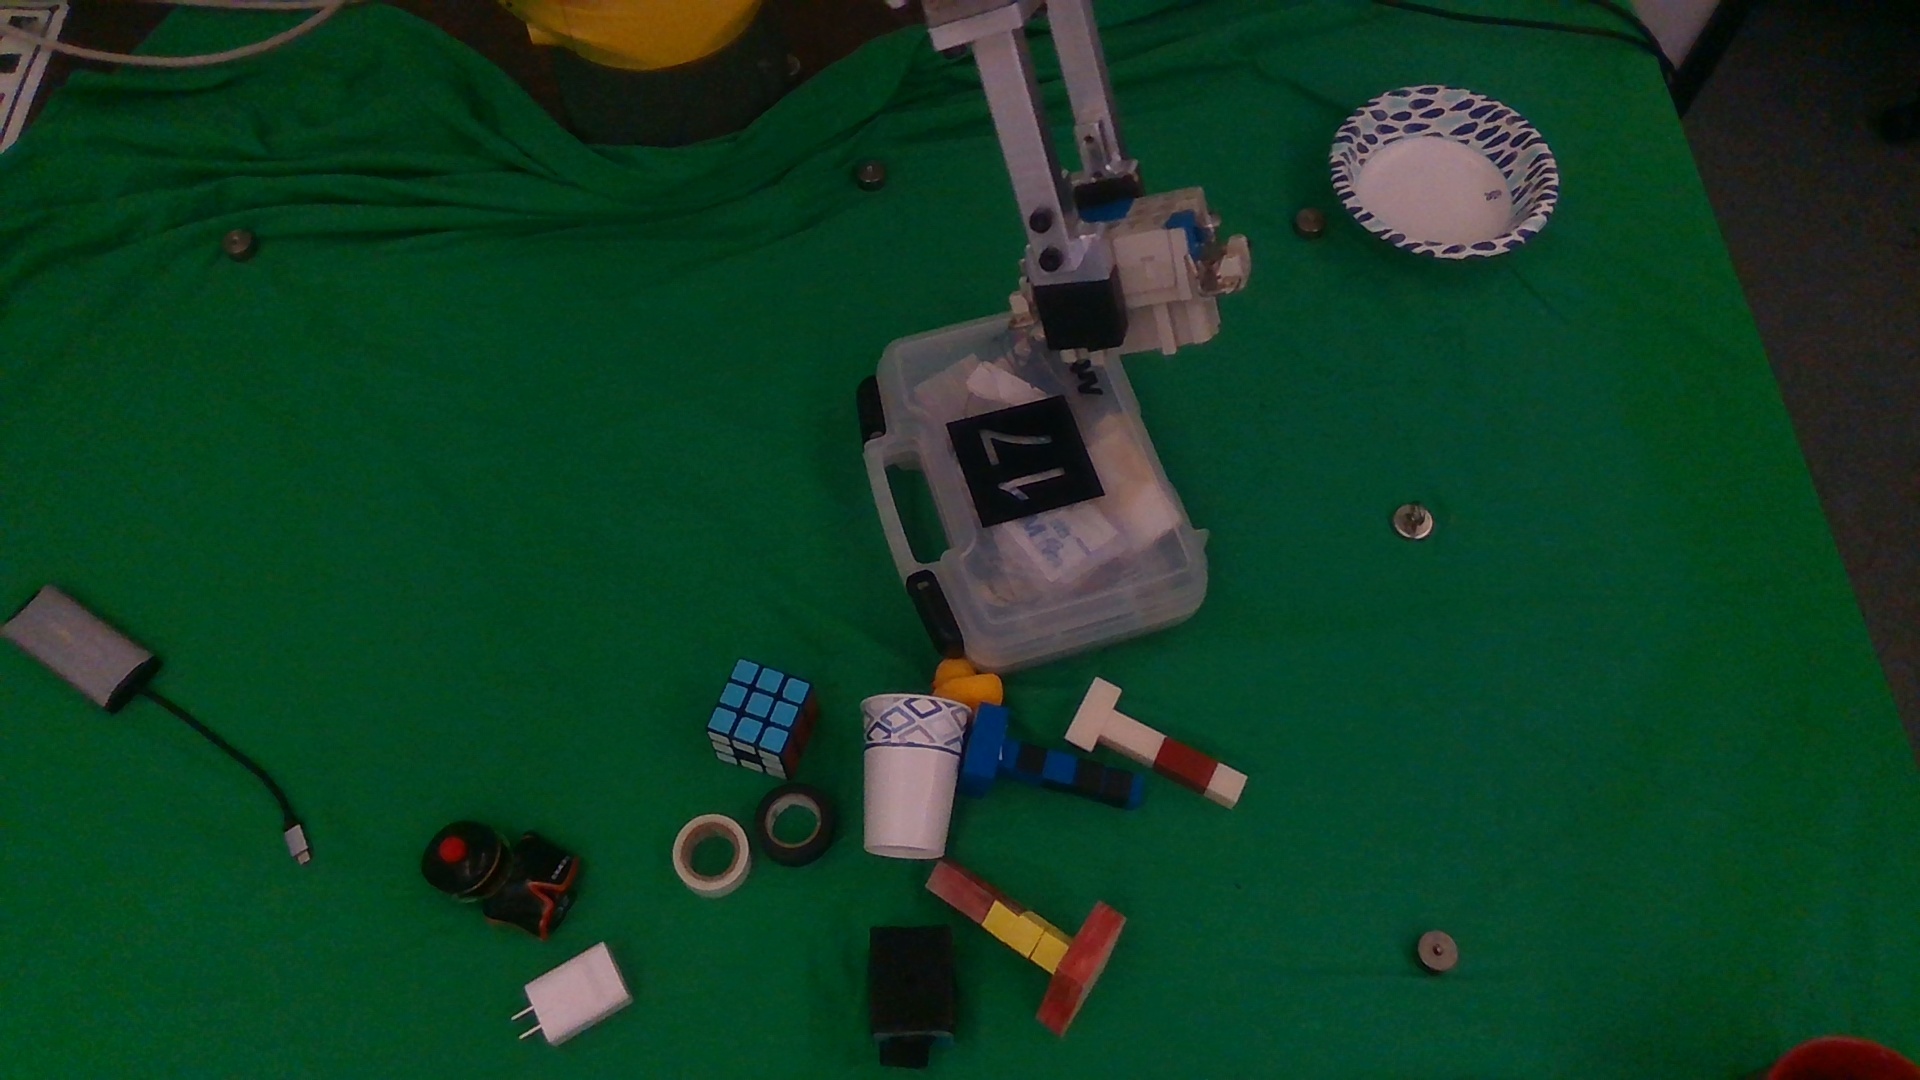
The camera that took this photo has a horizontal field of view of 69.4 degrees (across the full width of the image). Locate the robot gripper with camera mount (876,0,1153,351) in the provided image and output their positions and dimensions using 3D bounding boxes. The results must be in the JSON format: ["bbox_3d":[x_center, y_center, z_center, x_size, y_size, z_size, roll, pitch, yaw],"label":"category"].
[{"bbox_3d":[0.091,-0.141,0.320,0.194,0.158,0.119,-11,35,20],"label":"robot gripper with camera mount"}]

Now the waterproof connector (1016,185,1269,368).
[{"bbox_3d":[0.048,-0.069,0.370,0.065,0.037,0.035,-3,36,27],"label":"waterproof connector"}]
